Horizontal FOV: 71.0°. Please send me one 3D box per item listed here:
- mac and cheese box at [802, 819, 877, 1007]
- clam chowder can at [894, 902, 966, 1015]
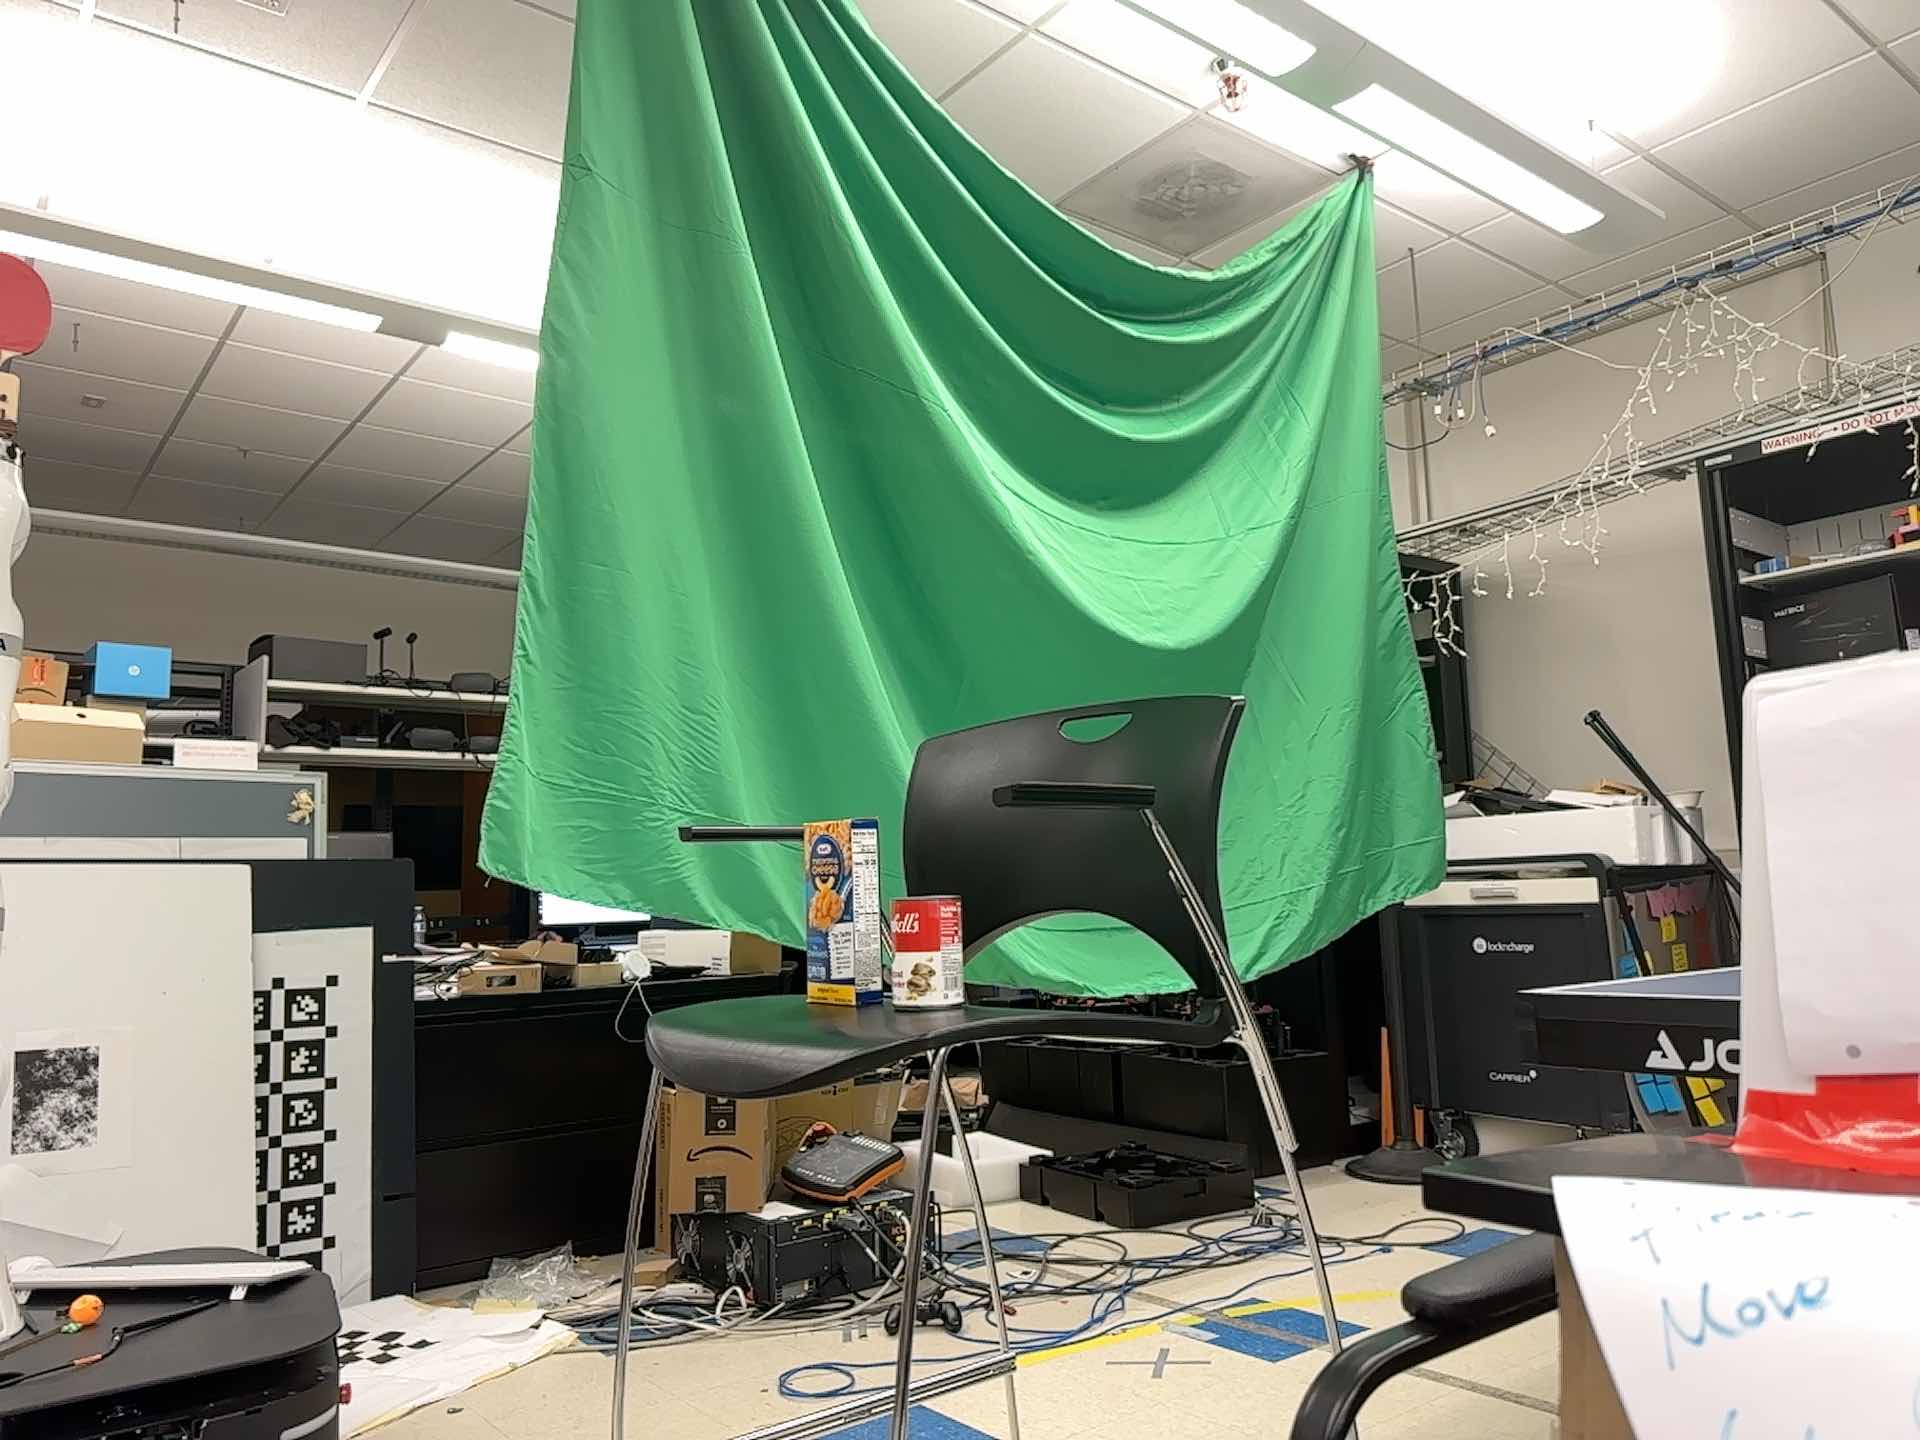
[{"bbox_3d":[-0.124,0.195,1.370,0.035,0.181,0.088,1,-6,-33],"label":"mac and cheese box"},{"bbox_3d":[-0.029,0.223,1.269,0.068,0.102,0.068,-1,-7,0],"label":"clam chowder can"}]
